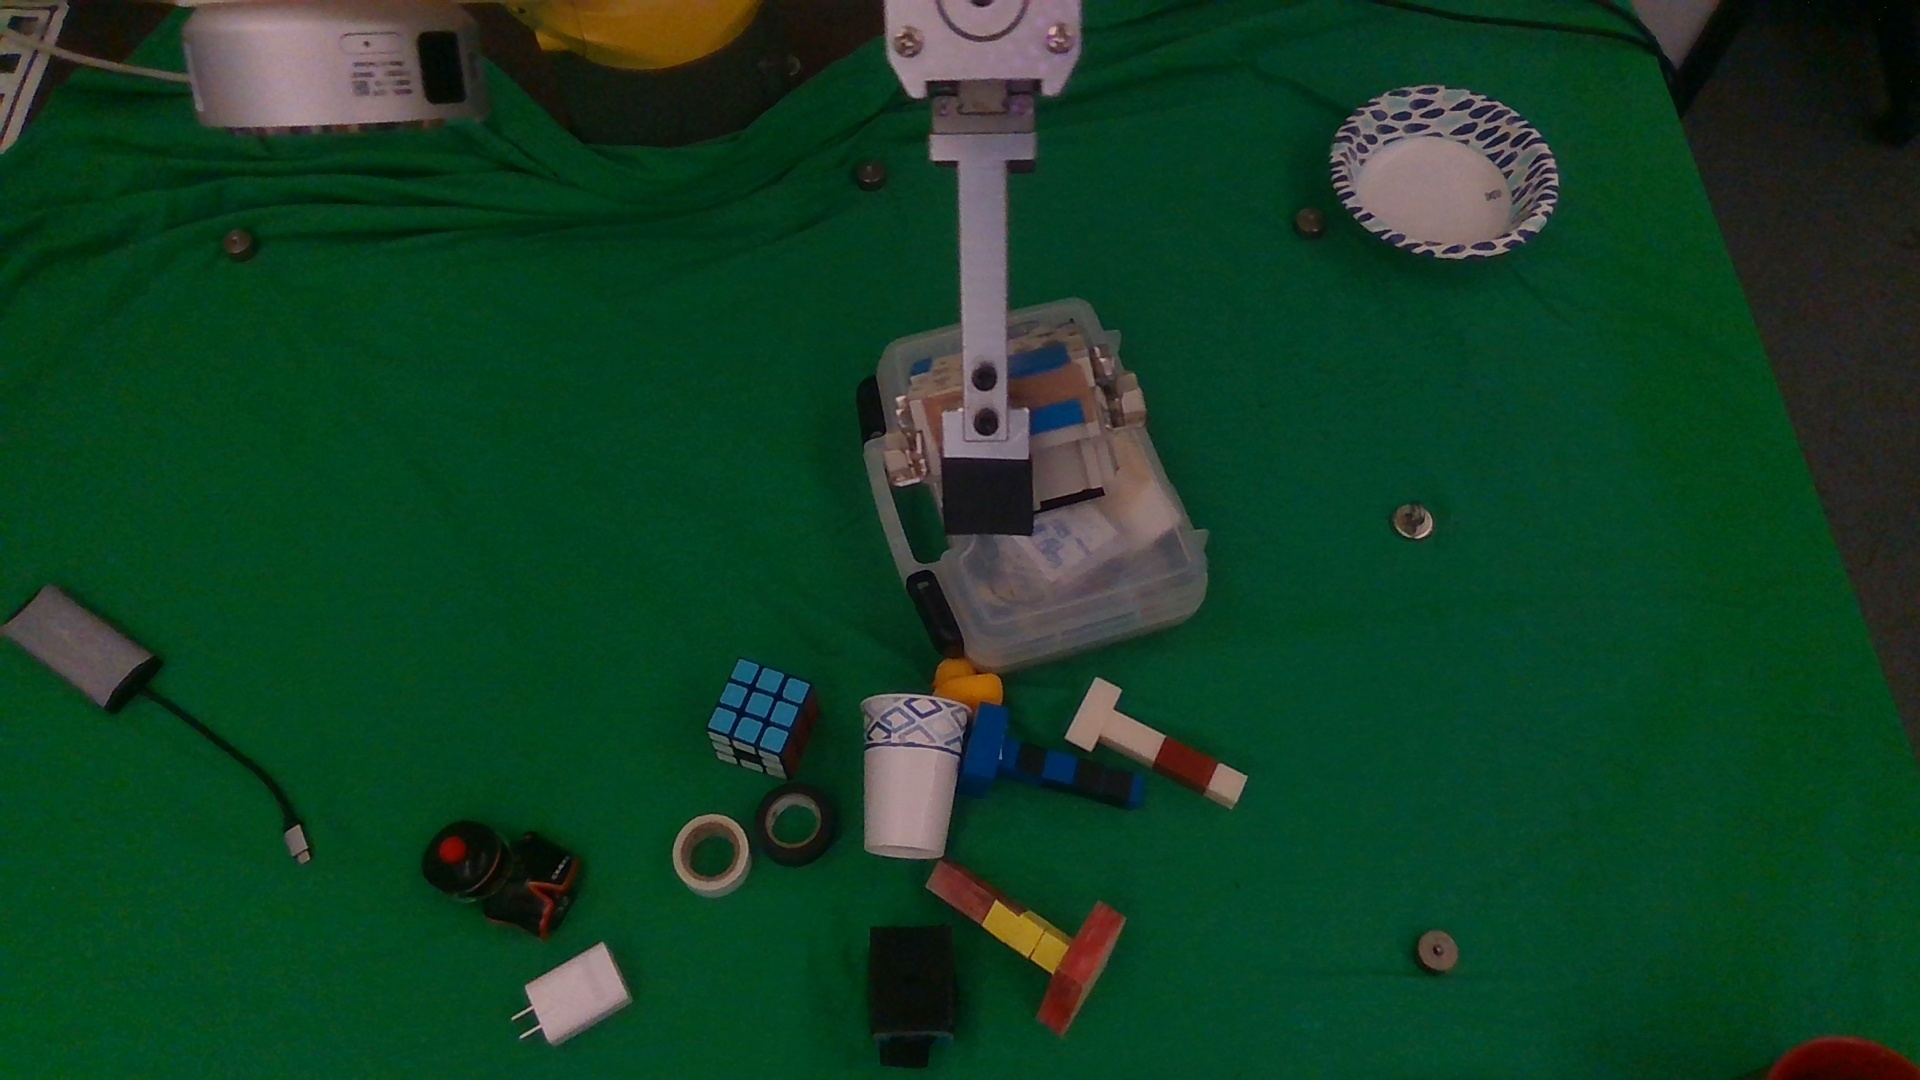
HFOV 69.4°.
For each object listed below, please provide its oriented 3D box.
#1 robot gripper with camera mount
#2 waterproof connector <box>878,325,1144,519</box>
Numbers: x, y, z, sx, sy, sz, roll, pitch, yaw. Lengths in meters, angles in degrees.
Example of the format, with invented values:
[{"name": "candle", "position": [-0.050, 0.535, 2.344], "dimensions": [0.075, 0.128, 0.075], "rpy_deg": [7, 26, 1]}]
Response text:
[{"name": "robot gripper with camera mount", "position": [-0.070, -0.078, 0.322], "dimensions": [0.193, 0.158, 0.119], "rpy_deg": [-4, 18, 1]}, {"name": "waterproof connector", "position": [0.012, -0.028, 0.343], "dimensions": [0.065, 0.037, 0.035], "rpy_deg": [-14, 21, 4]}]
